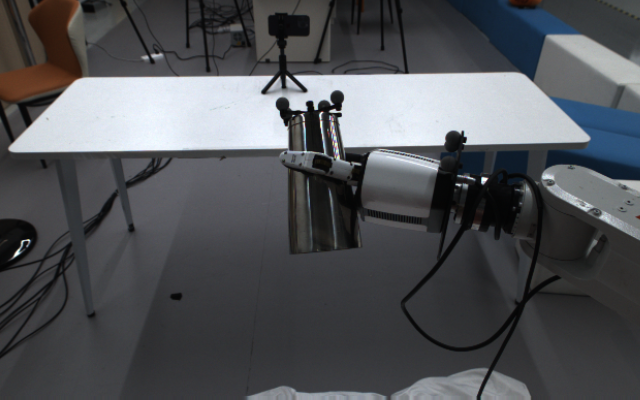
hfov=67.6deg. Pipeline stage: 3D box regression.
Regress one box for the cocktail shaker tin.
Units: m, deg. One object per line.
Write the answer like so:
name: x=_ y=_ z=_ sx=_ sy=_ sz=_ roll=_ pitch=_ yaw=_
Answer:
cocktail shaker tin: x=0.000 y=-0.019 z=0.615 sx=0.093 sy=0.170 sz=0.093 roll=-6 pitch=-7 yaw=-1
